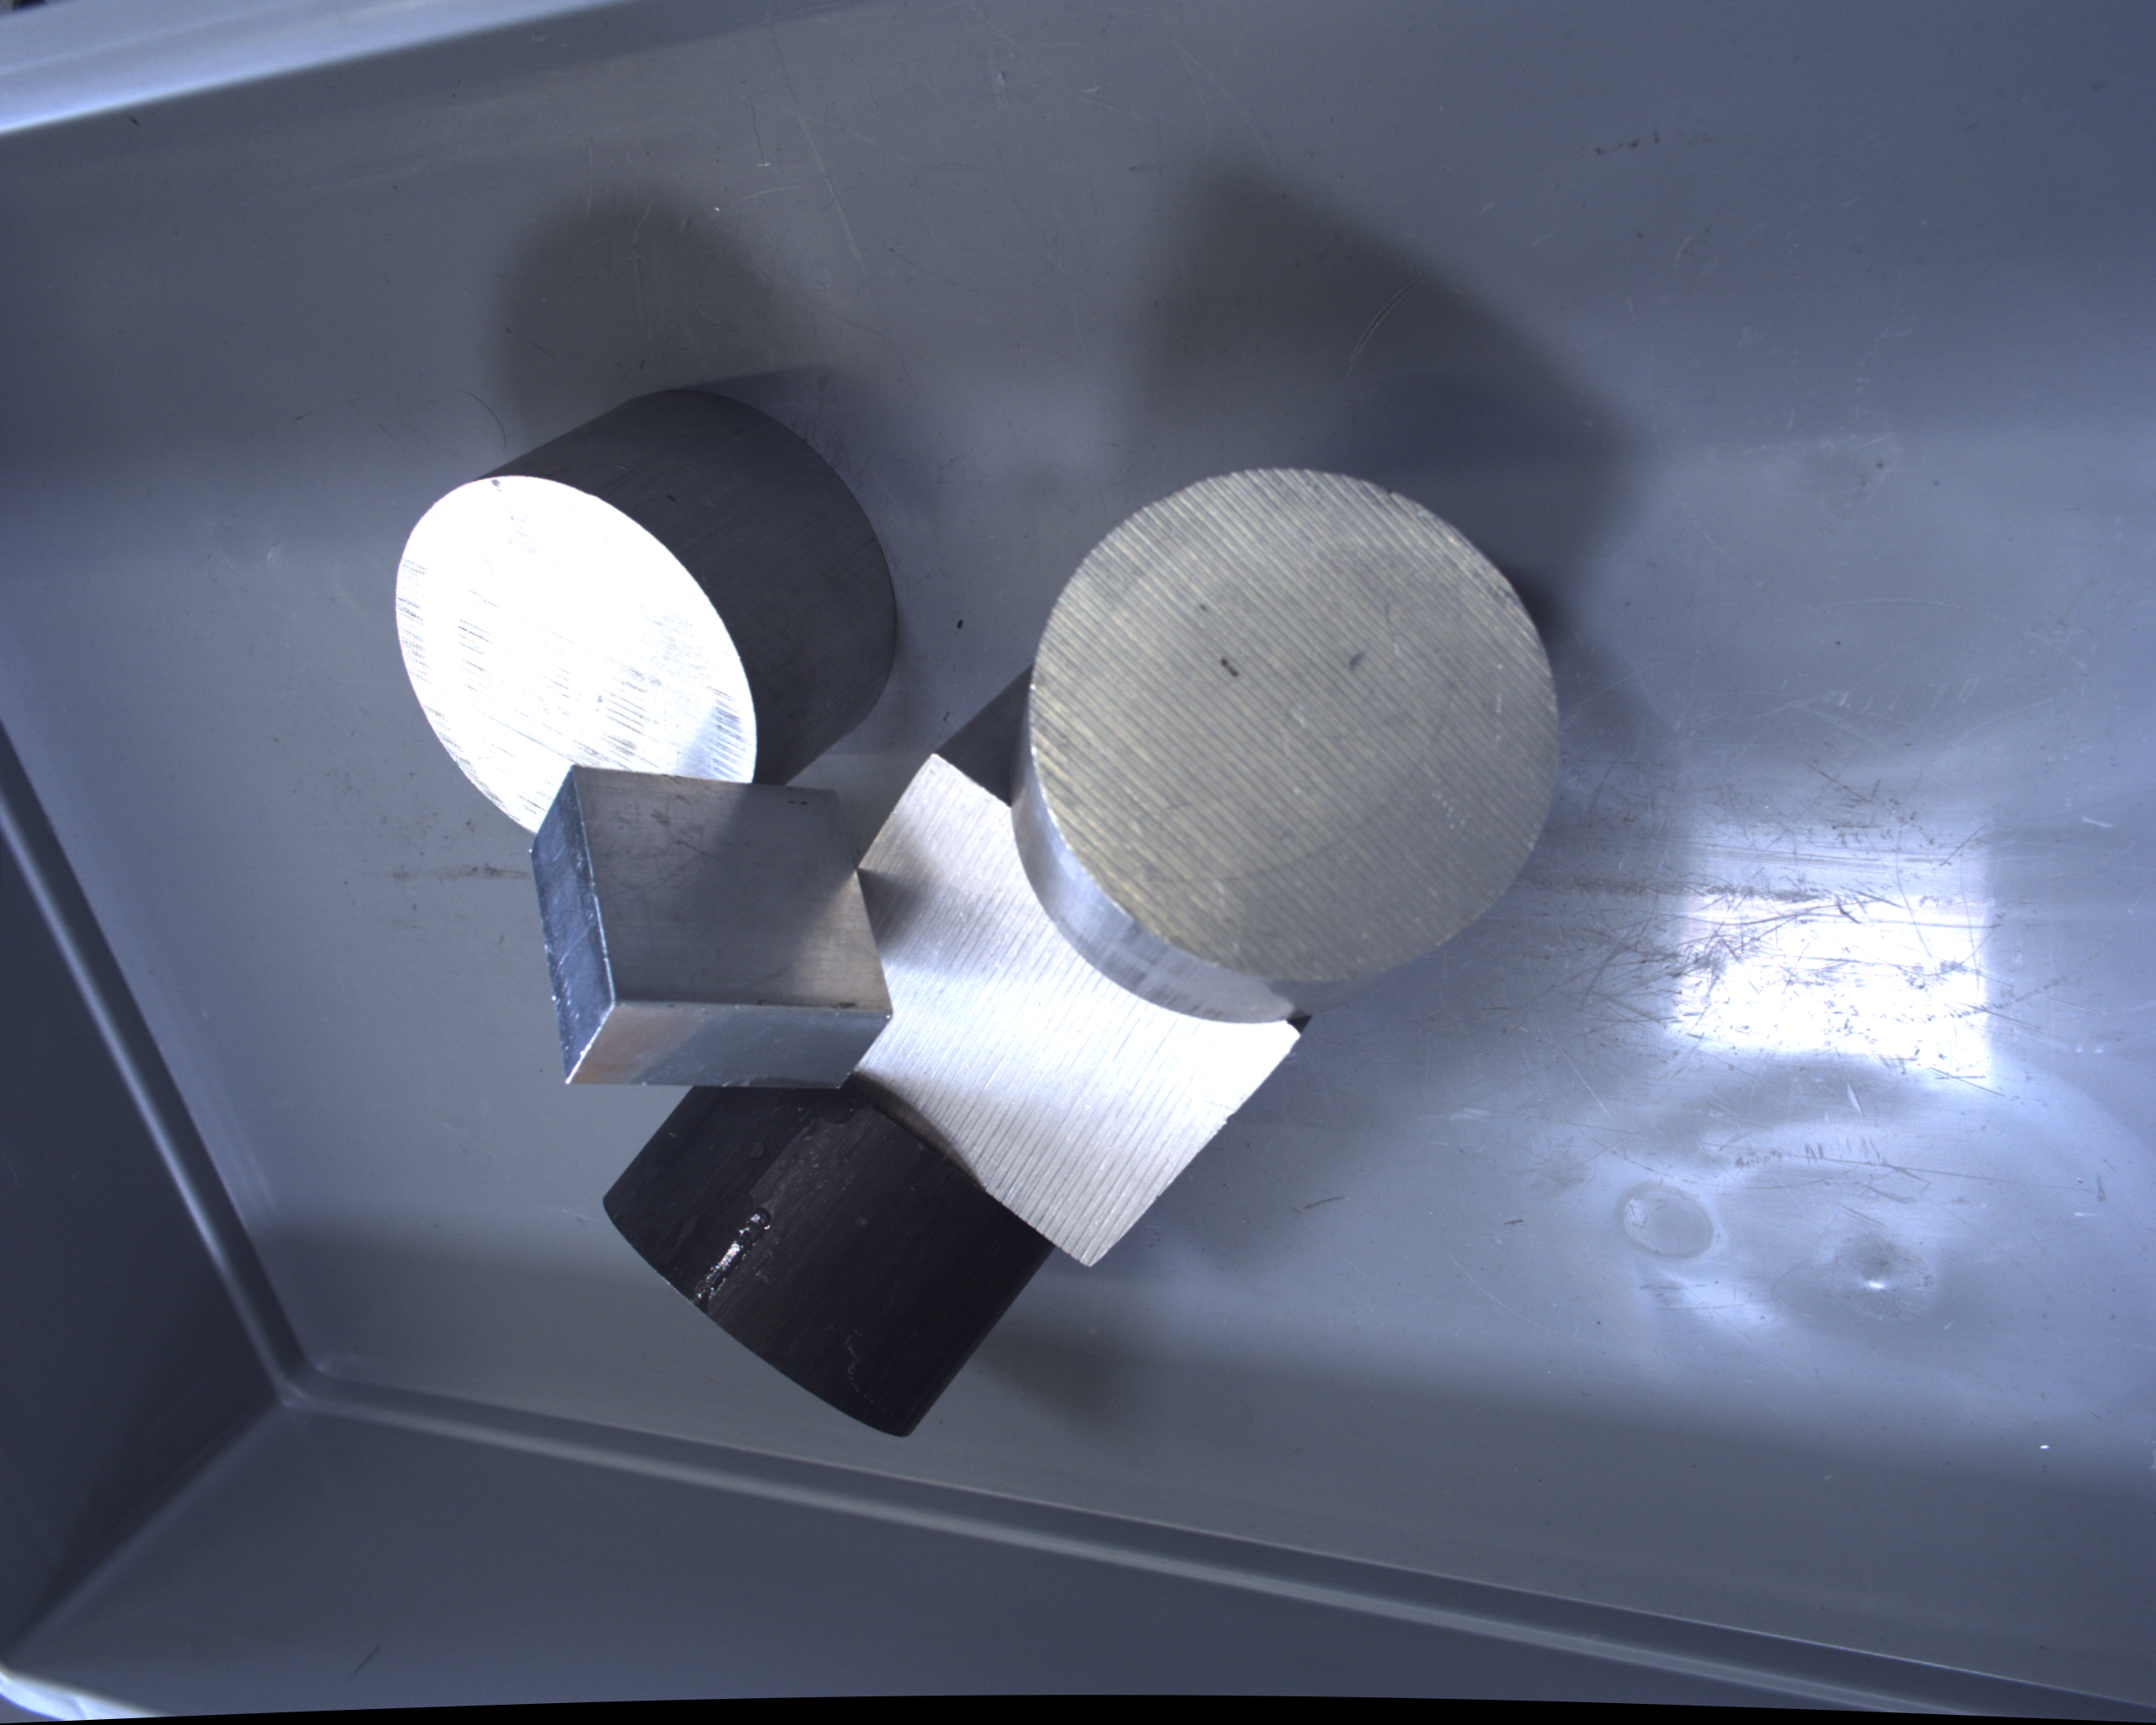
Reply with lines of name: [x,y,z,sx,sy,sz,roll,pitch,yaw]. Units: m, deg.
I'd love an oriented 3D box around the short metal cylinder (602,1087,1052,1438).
short metal cylinder: [-0.051,0.074,0.436,0.080,0.080,0.050,37,84,5]

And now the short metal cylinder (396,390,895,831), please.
short metal cylinder: [-0.083,-0.046,0.406,0.080,0.050,0.079,13,124,21]

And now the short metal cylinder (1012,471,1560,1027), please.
short metal cylinder: [0.030,-0.016,0.336,0.080,0.080,0.050,37,167,3]

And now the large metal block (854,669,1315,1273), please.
large metal block: [-0.001,0.018,0.399,0.080,0.050,0.080,38,129,2]

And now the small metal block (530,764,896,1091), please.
small metal block: [-0.065,0.012,0.368,0.025,0.050,0.050,-53,44,41]
